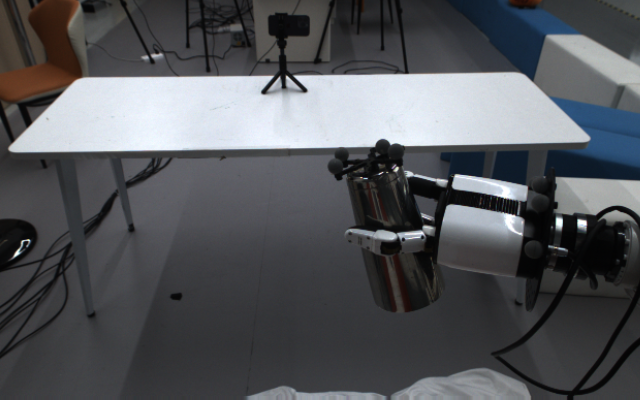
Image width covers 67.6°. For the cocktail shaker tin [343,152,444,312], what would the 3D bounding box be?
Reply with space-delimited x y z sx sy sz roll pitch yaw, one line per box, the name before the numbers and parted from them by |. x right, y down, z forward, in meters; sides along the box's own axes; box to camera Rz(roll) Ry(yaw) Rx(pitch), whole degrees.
cocktail shaker tin | 0.088 0.038 0.583 0.093 0.170 0.093 -17 20 7
